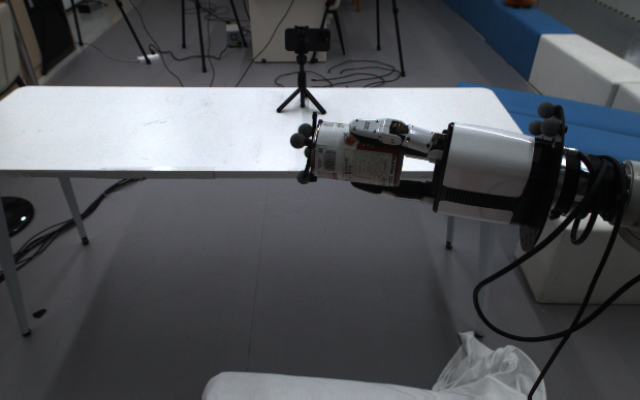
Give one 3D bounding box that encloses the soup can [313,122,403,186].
[{"bbox_3d":[0.048,-0.054,0.567,0.101,0.067,0.067,8,35,9],"label":"soup can"}]
